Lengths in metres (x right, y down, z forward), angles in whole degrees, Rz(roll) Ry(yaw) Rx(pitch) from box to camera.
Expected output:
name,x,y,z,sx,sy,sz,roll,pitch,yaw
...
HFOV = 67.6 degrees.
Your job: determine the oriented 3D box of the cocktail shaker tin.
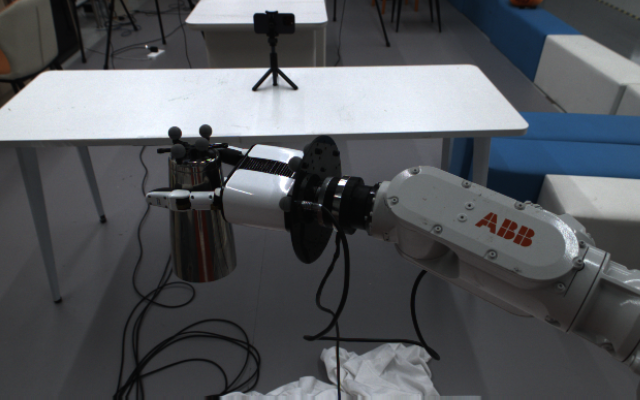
name,x,y,z,sx,sy,sz,roll,pitch,yaw
cocktail shaker tin,-0.163,0.015,0.665,0.093,0.170,0.093,1,27,-1
